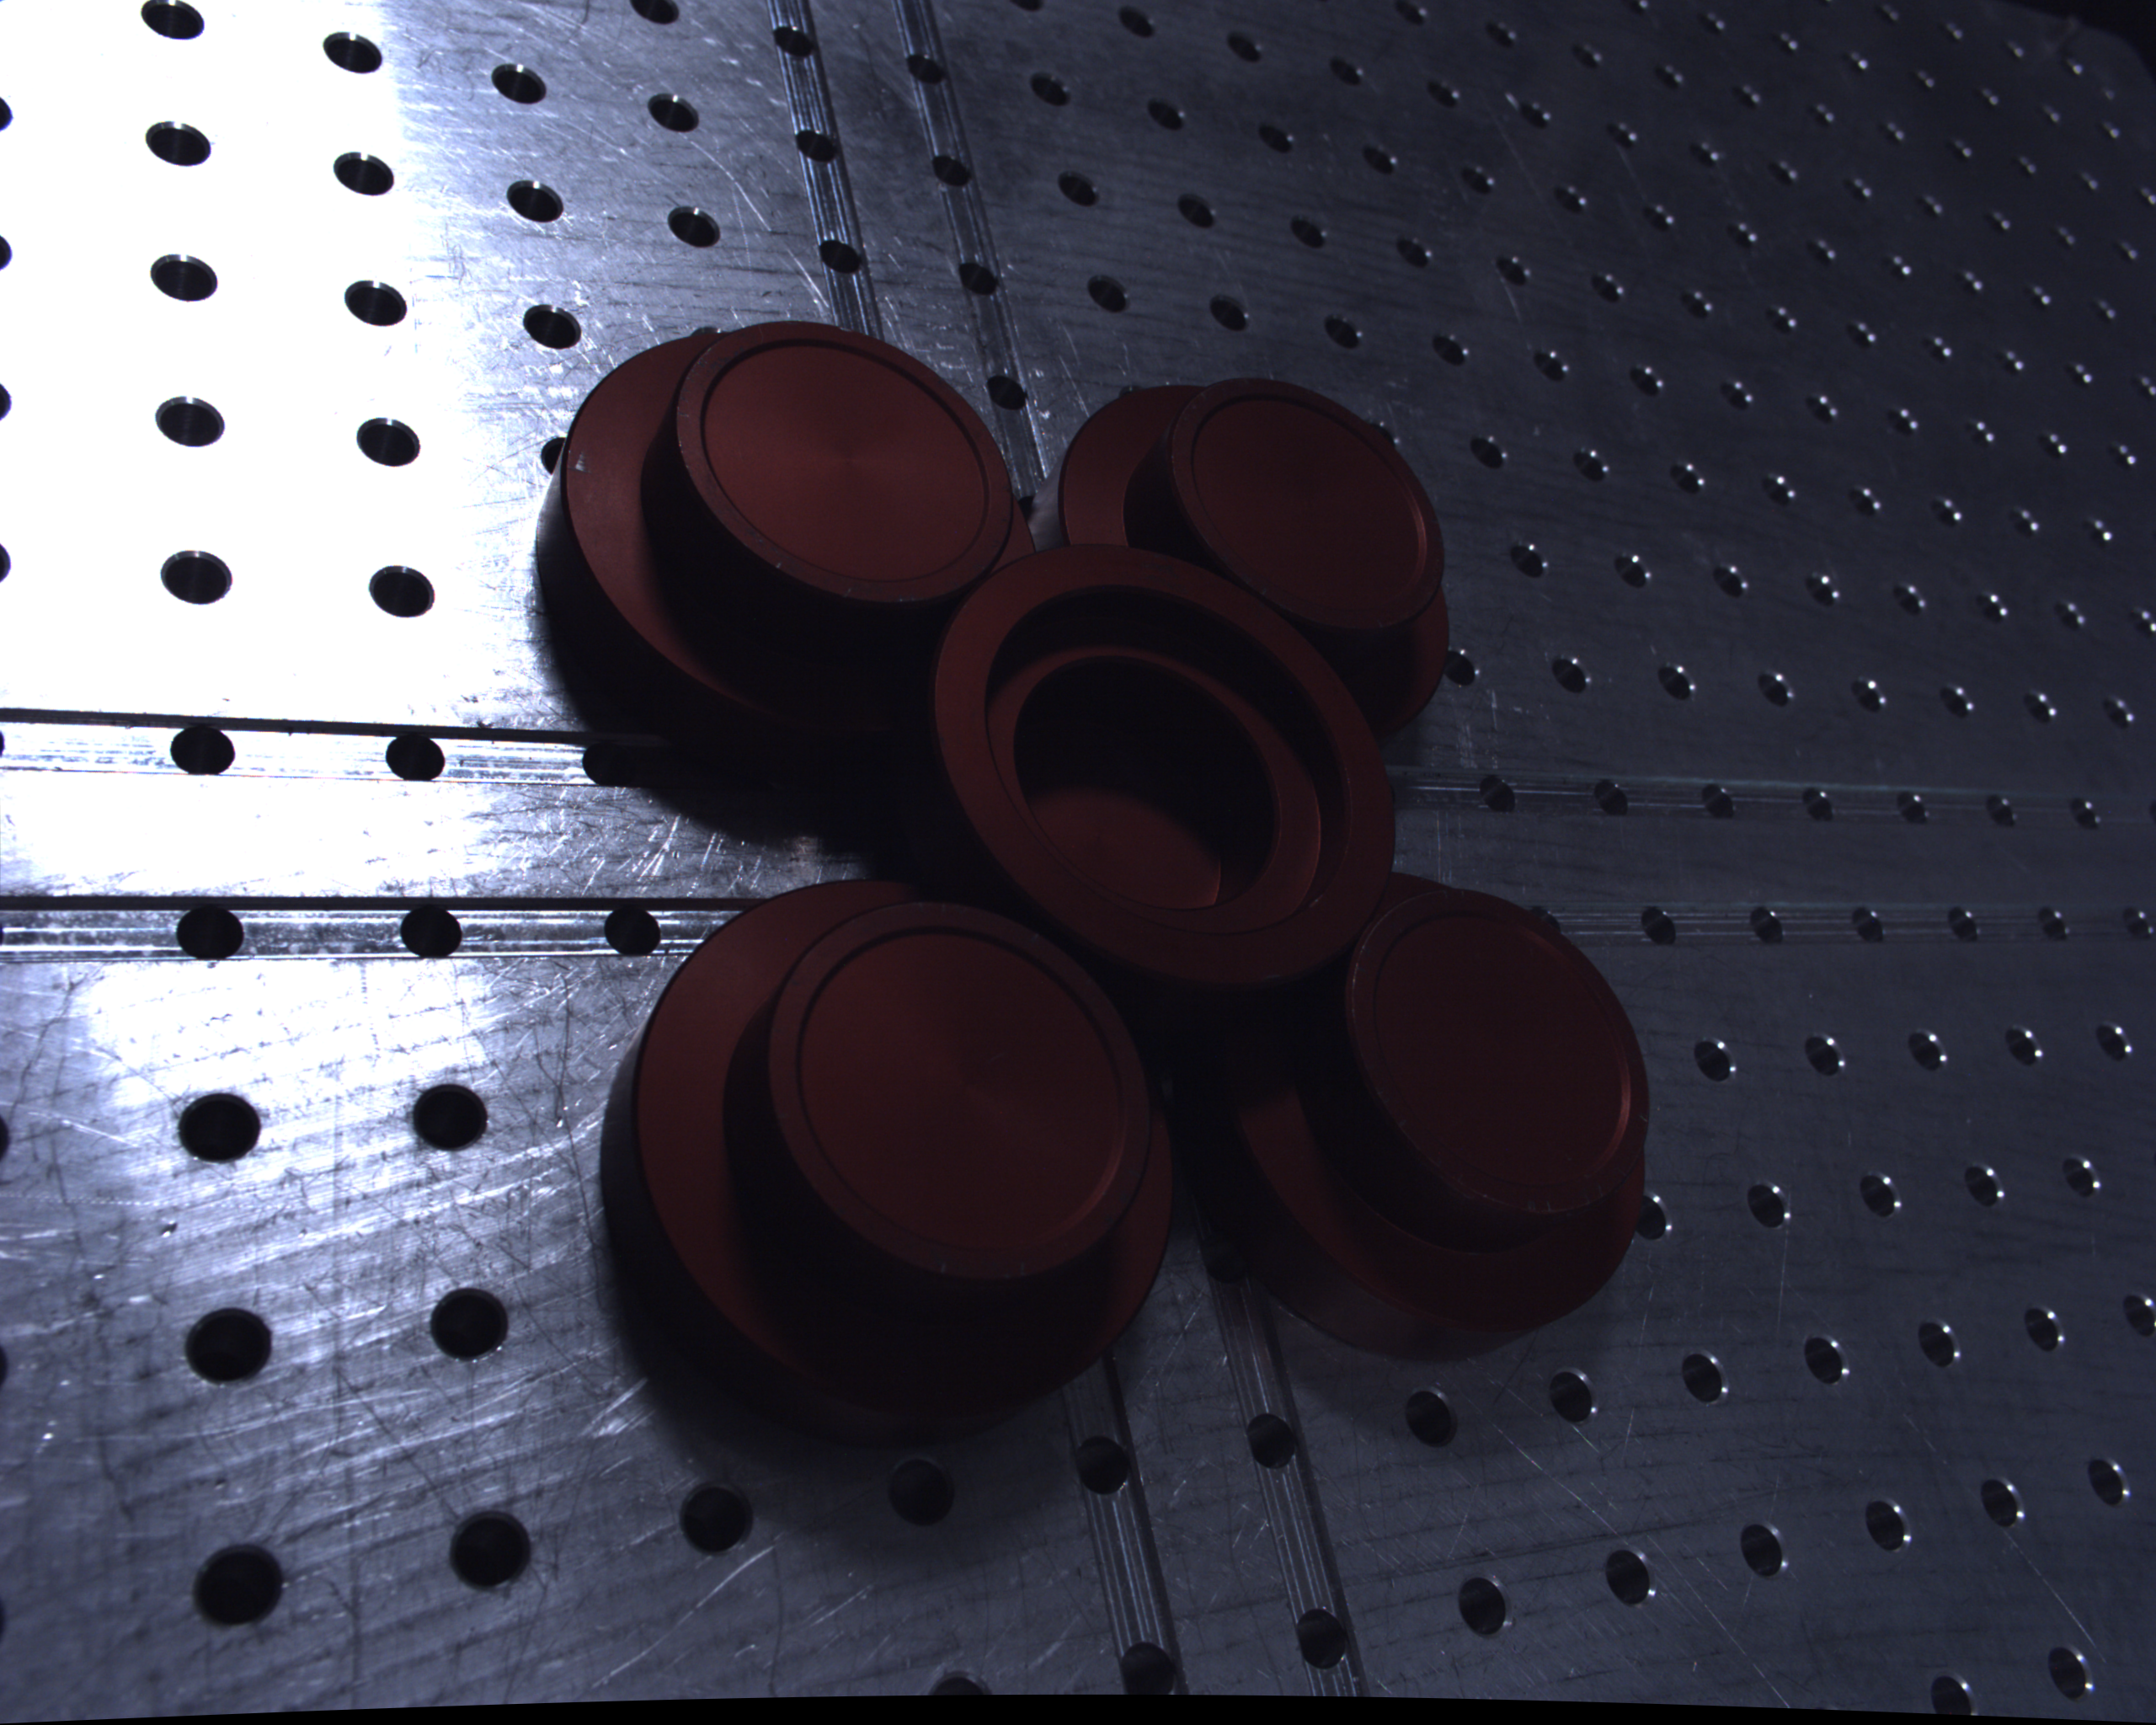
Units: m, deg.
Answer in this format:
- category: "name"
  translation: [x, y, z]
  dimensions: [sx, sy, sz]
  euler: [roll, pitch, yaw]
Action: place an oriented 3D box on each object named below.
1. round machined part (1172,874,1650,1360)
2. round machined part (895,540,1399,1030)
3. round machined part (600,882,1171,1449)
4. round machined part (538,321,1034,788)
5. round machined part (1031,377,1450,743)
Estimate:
- category: "round machined part"
  translation: [0.072, 0.044, 0.410]
  dimensions: [0.099, 0.042, 0.098]
  euler: [14, 56, -21]
- category: "round machined part"
  translation: [0.010, -0.011, 0.409]
  dimensions: [0.099, 0.042, 0.098]
  euler: [14, 56, -21]
- category: "round machined part"
  translation: [-0.028, 0.046, 0.356]
  dimensions: [0.099, 0.042, 0.098]
  euler: [14, 56, -21]
- category: "round machined part"
  translation: [-0.052, -0.067, 0.410]
  dimensions: [0.099, 0.042, 0.098]
  euler: [14, 56, -21]
- category: "round machined part"
  translation: [0.041, -0.068, 0.462]
  dimensions: [0.099, 0.042, 0.098]
  euler: [14, 56, -21]
